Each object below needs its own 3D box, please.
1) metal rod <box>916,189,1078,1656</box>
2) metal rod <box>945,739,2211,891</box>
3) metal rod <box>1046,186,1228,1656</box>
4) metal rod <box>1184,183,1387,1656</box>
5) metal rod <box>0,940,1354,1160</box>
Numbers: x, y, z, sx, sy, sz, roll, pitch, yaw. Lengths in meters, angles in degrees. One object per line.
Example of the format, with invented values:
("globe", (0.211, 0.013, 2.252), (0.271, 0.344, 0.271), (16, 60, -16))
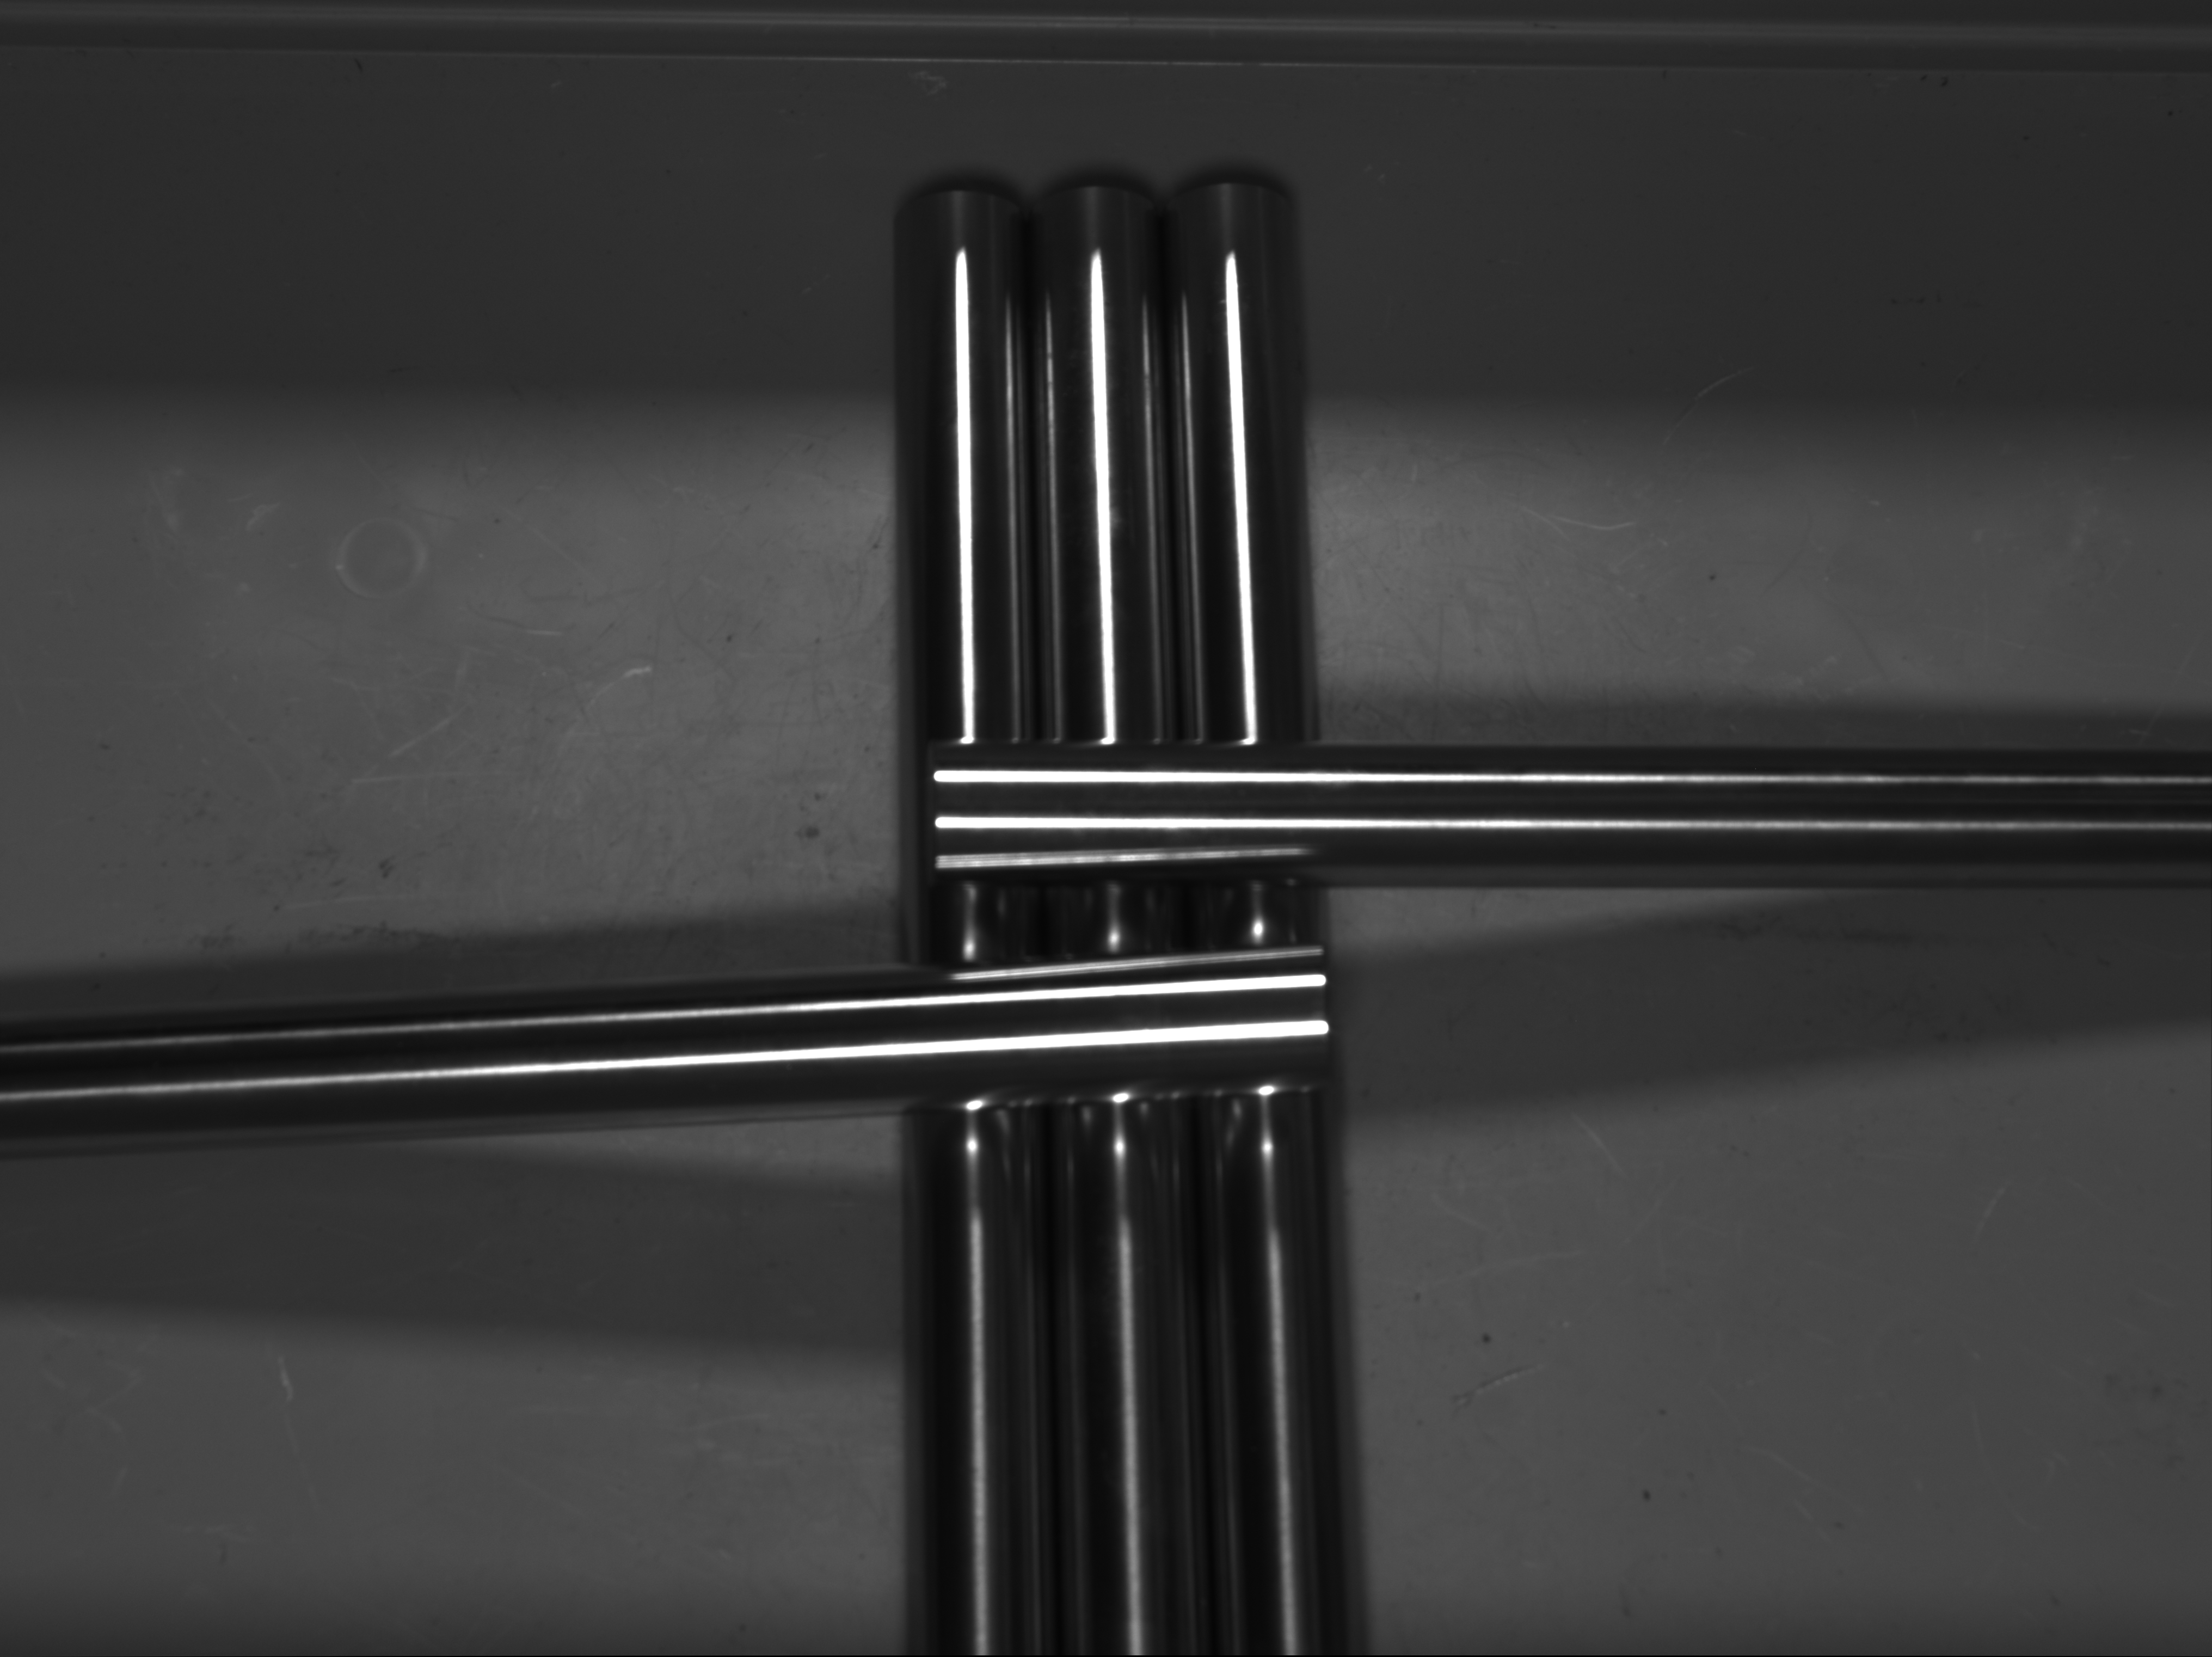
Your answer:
("metal rod", (-0.020, 0.027, 0.634), (0.025, 0.025, 0.300), (-1, 70, 0))
("metal rod", (0.122, -0.002, 0.626), (0.300, 0.025, 0.025), (0, 70, -7))
("metal rod", (0.005, 0.027, 0.634), (0.025, 0.025, 0.300), (-1, 70, 0))
("metal rod", (0.030, 0.026, 0.634), (0.025, 0.025, 0.300), (-1, 70, 0))
("metal rod", (-0.109, 0.039, 0.612), (0.300, 0.025, 0.025), (-3, 70, 5))
